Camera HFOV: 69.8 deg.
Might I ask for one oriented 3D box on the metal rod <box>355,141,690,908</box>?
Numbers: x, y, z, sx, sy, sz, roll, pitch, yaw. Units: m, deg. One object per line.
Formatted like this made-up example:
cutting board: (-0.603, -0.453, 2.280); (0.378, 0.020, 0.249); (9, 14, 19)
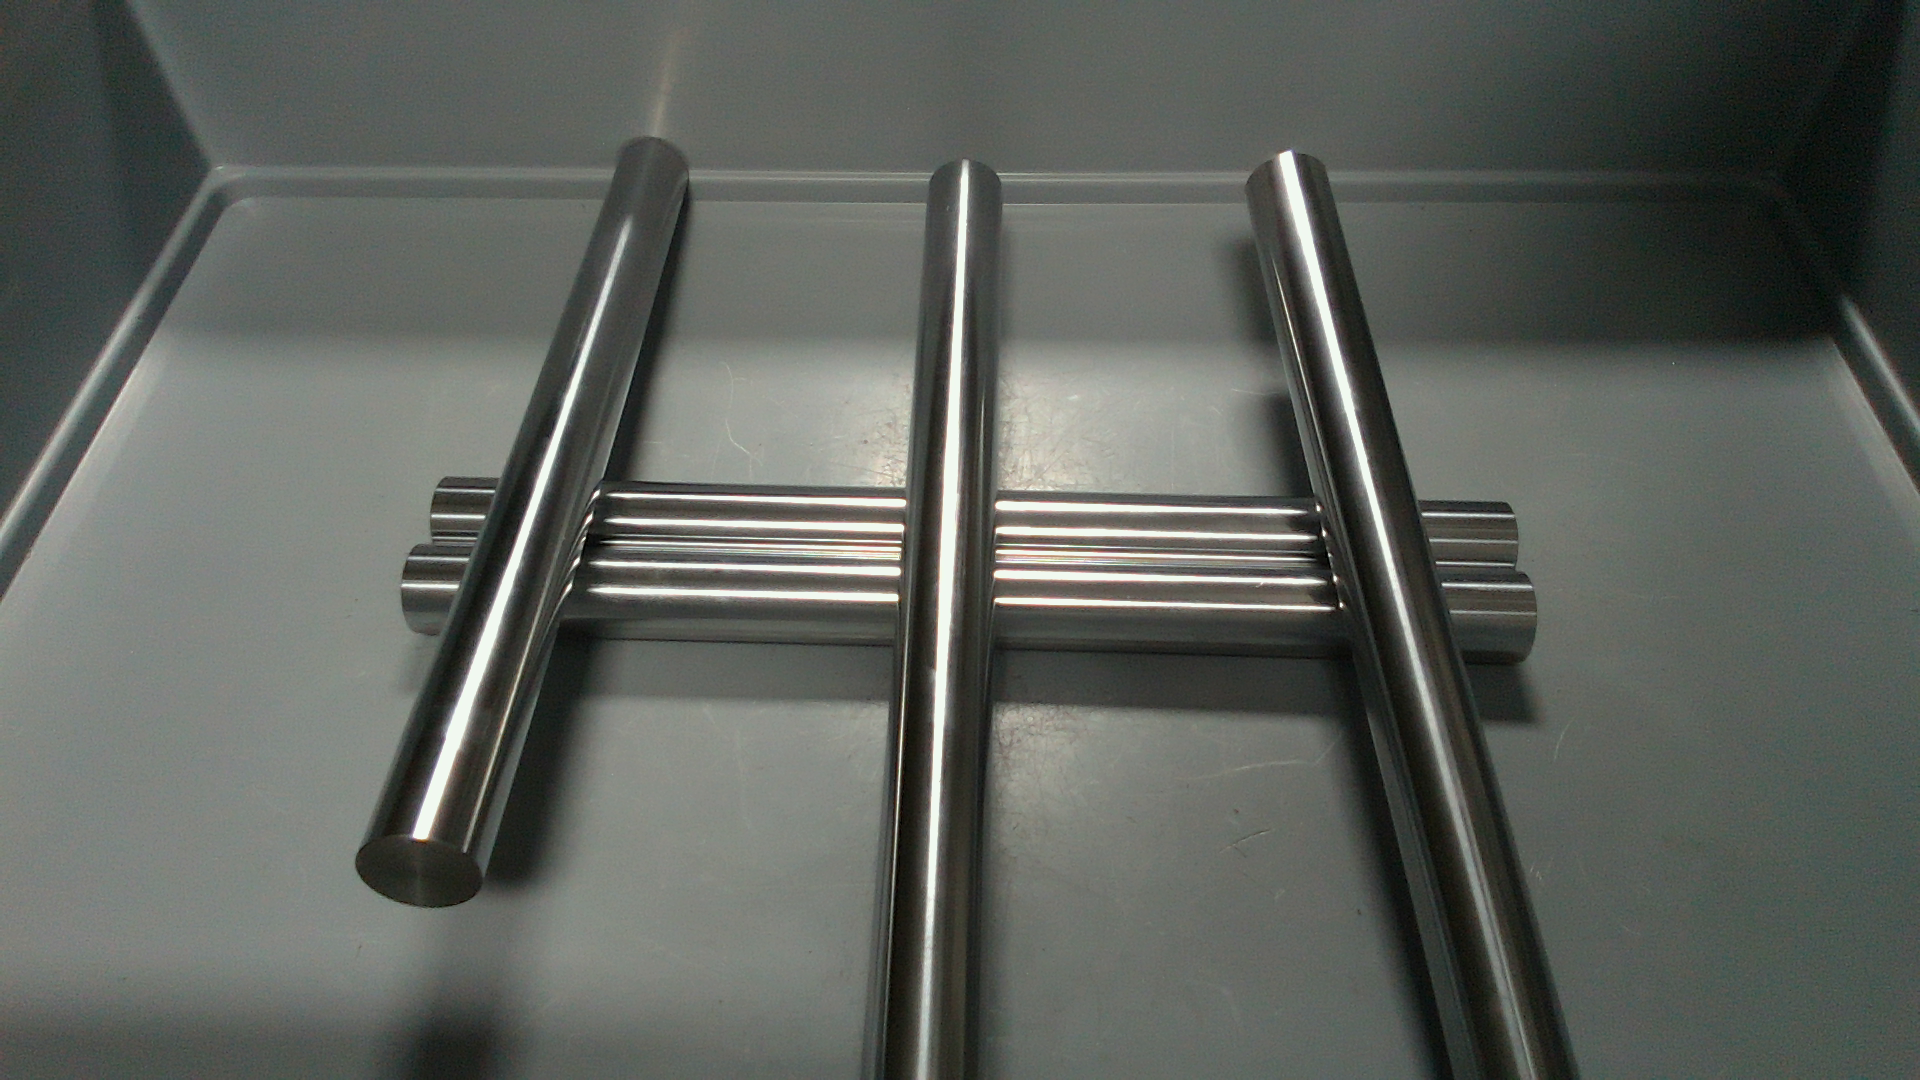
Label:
metal rod: (-0.109, -0.033, 0.387); (0.025, 0.025, 0.300); (-1, 42, 0)

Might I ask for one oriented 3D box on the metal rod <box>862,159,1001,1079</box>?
metal rod: (-0.003, 0.000, 0.358); (0.025, 0.025, 0.300); (1, 50, 1)

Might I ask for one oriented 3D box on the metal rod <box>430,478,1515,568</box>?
metal rod: (0.003, -0.002, 0.392); (0.300, 0.025, 0.025); (1, 50, 1)

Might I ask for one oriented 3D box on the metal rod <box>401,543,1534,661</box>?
metal rod: (0.001, 0.017, 0.377); (0.300, 0.025, 0.025); (1, 50, 1)

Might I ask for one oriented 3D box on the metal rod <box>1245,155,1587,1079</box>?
metal rod: (0.110, 0.018, 0.346); (0.025, 0.025, 0.300); (-3, 58, -2)
